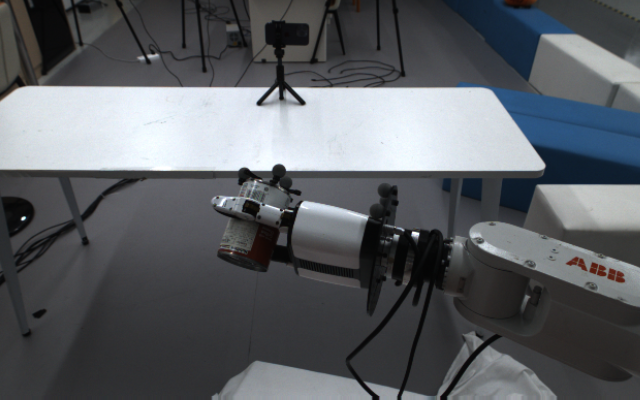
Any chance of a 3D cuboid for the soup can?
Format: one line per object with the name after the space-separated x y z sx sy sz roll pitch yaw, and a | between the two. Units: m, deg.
-0.082 0.031 0.614 0.067 0.067 0.101 12 70 14 | soup can
